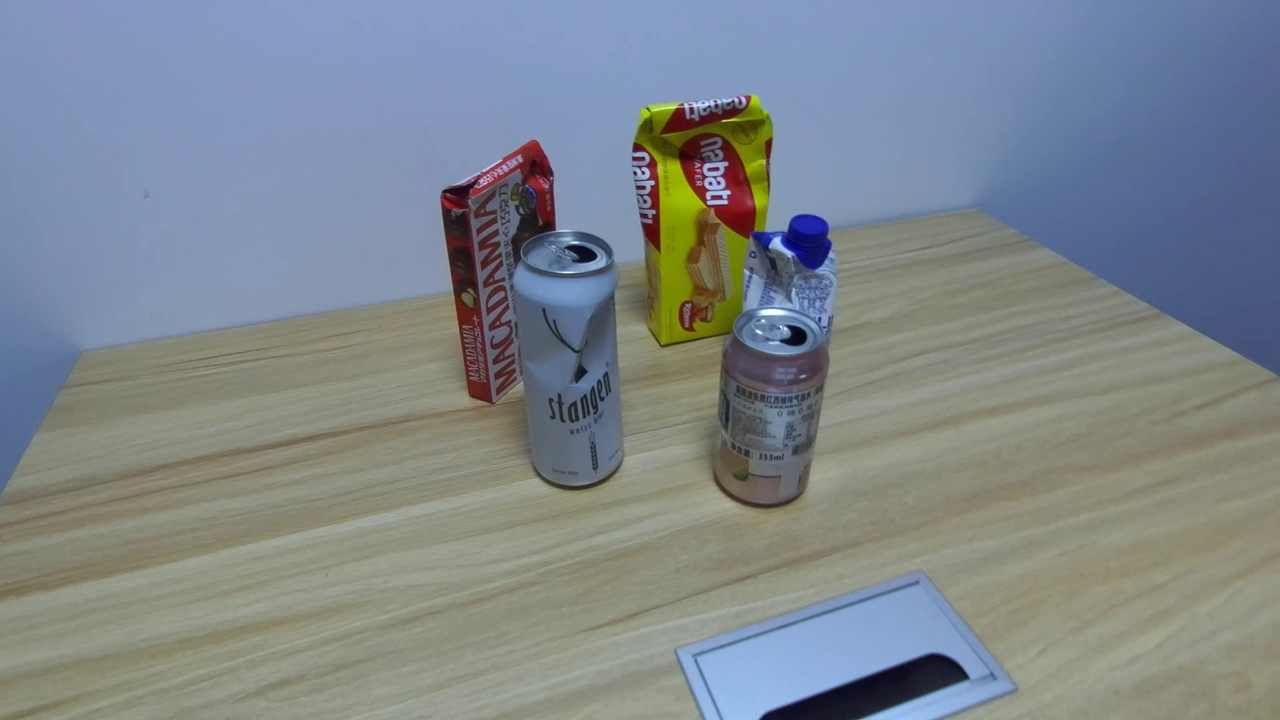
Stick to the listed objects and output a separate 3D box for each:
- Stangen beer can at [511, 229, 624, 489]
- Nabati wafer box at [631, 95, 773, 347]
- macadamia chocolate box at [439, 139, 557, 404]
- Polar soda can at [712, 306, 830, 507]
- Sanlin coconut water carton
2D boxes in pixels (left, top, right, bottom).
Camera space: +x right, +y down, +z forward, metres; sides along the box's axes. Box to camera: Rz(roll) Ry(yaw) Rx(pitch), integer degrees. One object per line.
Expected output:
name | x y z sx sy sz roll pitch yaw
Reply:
Stangen beer can | -0.042 0.003 0.462 0.070 0.173 0.069 -15 38 -19
Nabati wafer box | 0.053 -0.112 0.593 0.113 0.205 0.042 -12 35 -13
macadamia chocolate box | -0.100 -0.065 0.549 0.027 0.187 0.103 22 41 23
Polar soda can | 0.083 0.032 0.458 0.067 0.126 0.067 0 33 1
Sanlin coconut water carton | 0.115 -0.044 0.550 0.057 0.145 0.068 -12 28 -29
